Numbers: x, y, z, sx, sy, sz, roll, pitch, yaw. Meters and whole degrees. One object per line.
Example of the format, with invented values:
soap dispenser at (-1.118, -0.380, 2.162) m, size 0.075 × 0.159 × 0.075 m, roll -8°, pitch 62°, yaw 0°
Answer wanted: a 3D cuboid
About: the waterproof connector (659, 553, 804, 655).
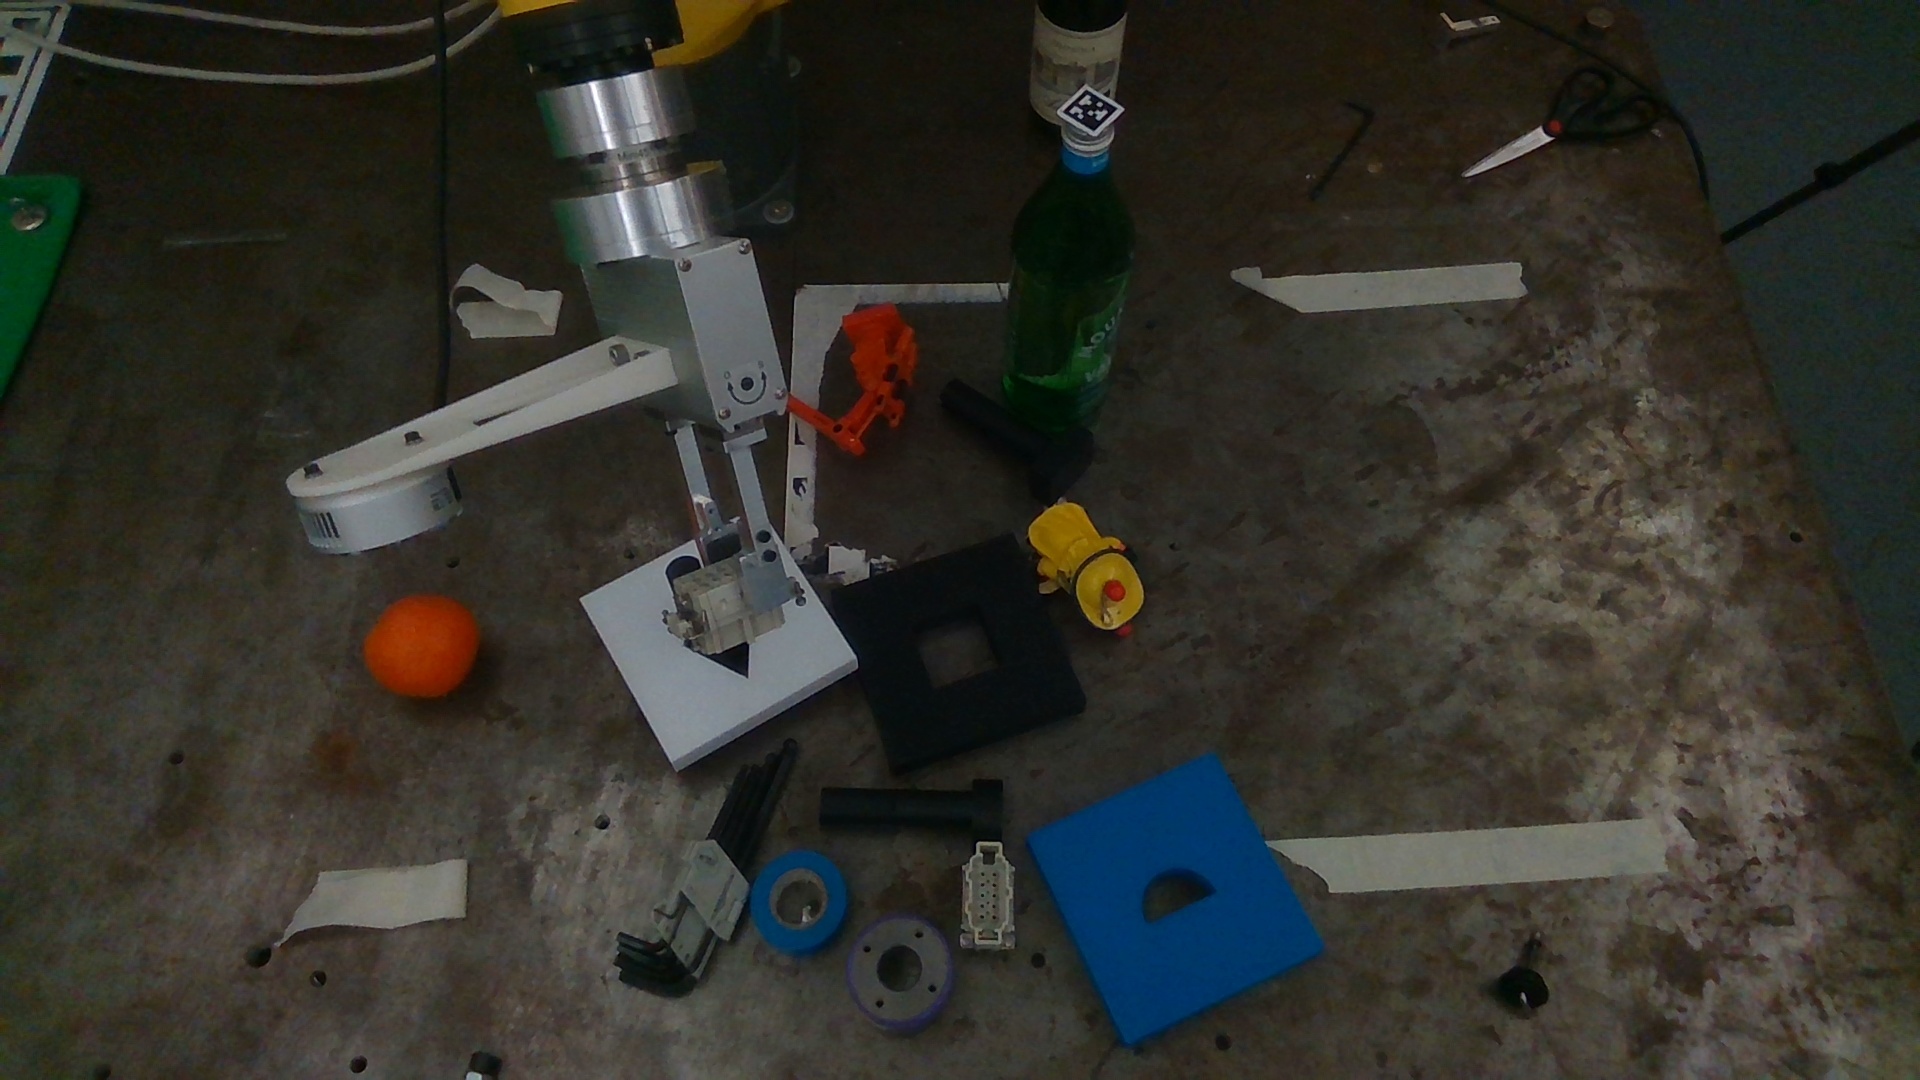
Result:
waterproof connector at (-0.113, 0.032, 0.690) m, size 0.069 × 0.038 × 0.037 m, roll -16°, pitch 17°, yaw -34°
